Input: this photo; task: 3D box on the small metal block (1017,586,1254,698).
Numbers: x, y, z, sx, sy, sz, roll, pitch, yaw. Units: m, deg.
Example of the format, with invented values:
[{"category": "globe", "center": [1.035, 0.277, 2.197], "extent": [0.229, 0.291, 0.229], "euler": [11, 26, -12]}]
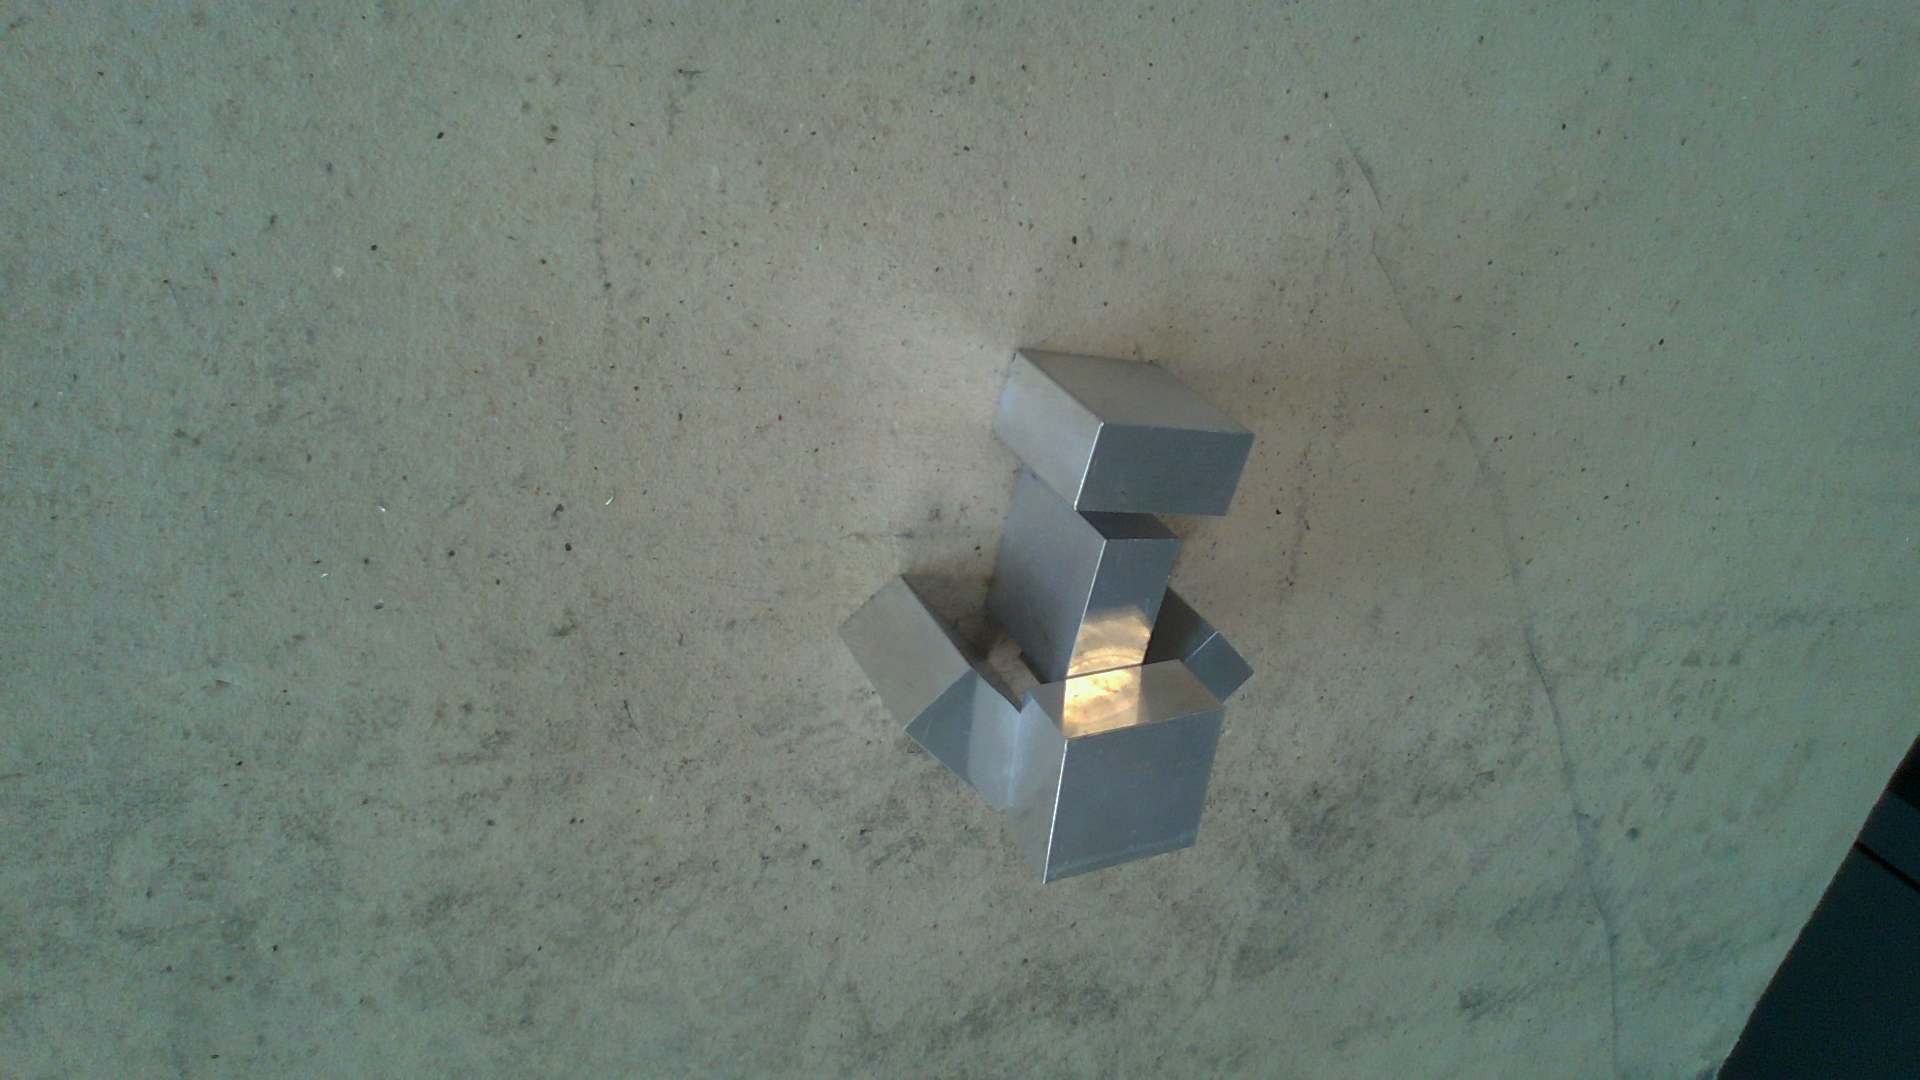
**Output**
[{"category": "small metal block", "center": [0.053, 0.038, 0.427], "extent": [0.050, 0.050, 0.025], "euler": [-45, 129, 3]}]

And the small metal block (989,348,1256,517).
[{"category": "small metal block", "center": [0.044, -0.030, 0.379], "extent": [0.050, 0.050, 0.025], "euler": [1, 118, -29]}]

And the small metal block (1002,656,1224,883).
[{"category": "small metal block", "center": [0.042, 0.064, 0.389], "extent": [0.050, 0.025, 0.050], "euler": [-8, 121, -24]}]

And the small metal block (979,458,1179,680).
[{"category": "small metal block", "center": [0.033, 0.010, 0.398], "extent": [0.025, 0.050, 0.050], "euler": [-1, 118, -28]}]

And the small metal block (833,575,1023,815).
[{"category": "small metal block", "center": [-0.004, 0.045, 0.398], "extent": [0.025, 0.050, 0.050], "euler": [-43, 130, 1]}]
